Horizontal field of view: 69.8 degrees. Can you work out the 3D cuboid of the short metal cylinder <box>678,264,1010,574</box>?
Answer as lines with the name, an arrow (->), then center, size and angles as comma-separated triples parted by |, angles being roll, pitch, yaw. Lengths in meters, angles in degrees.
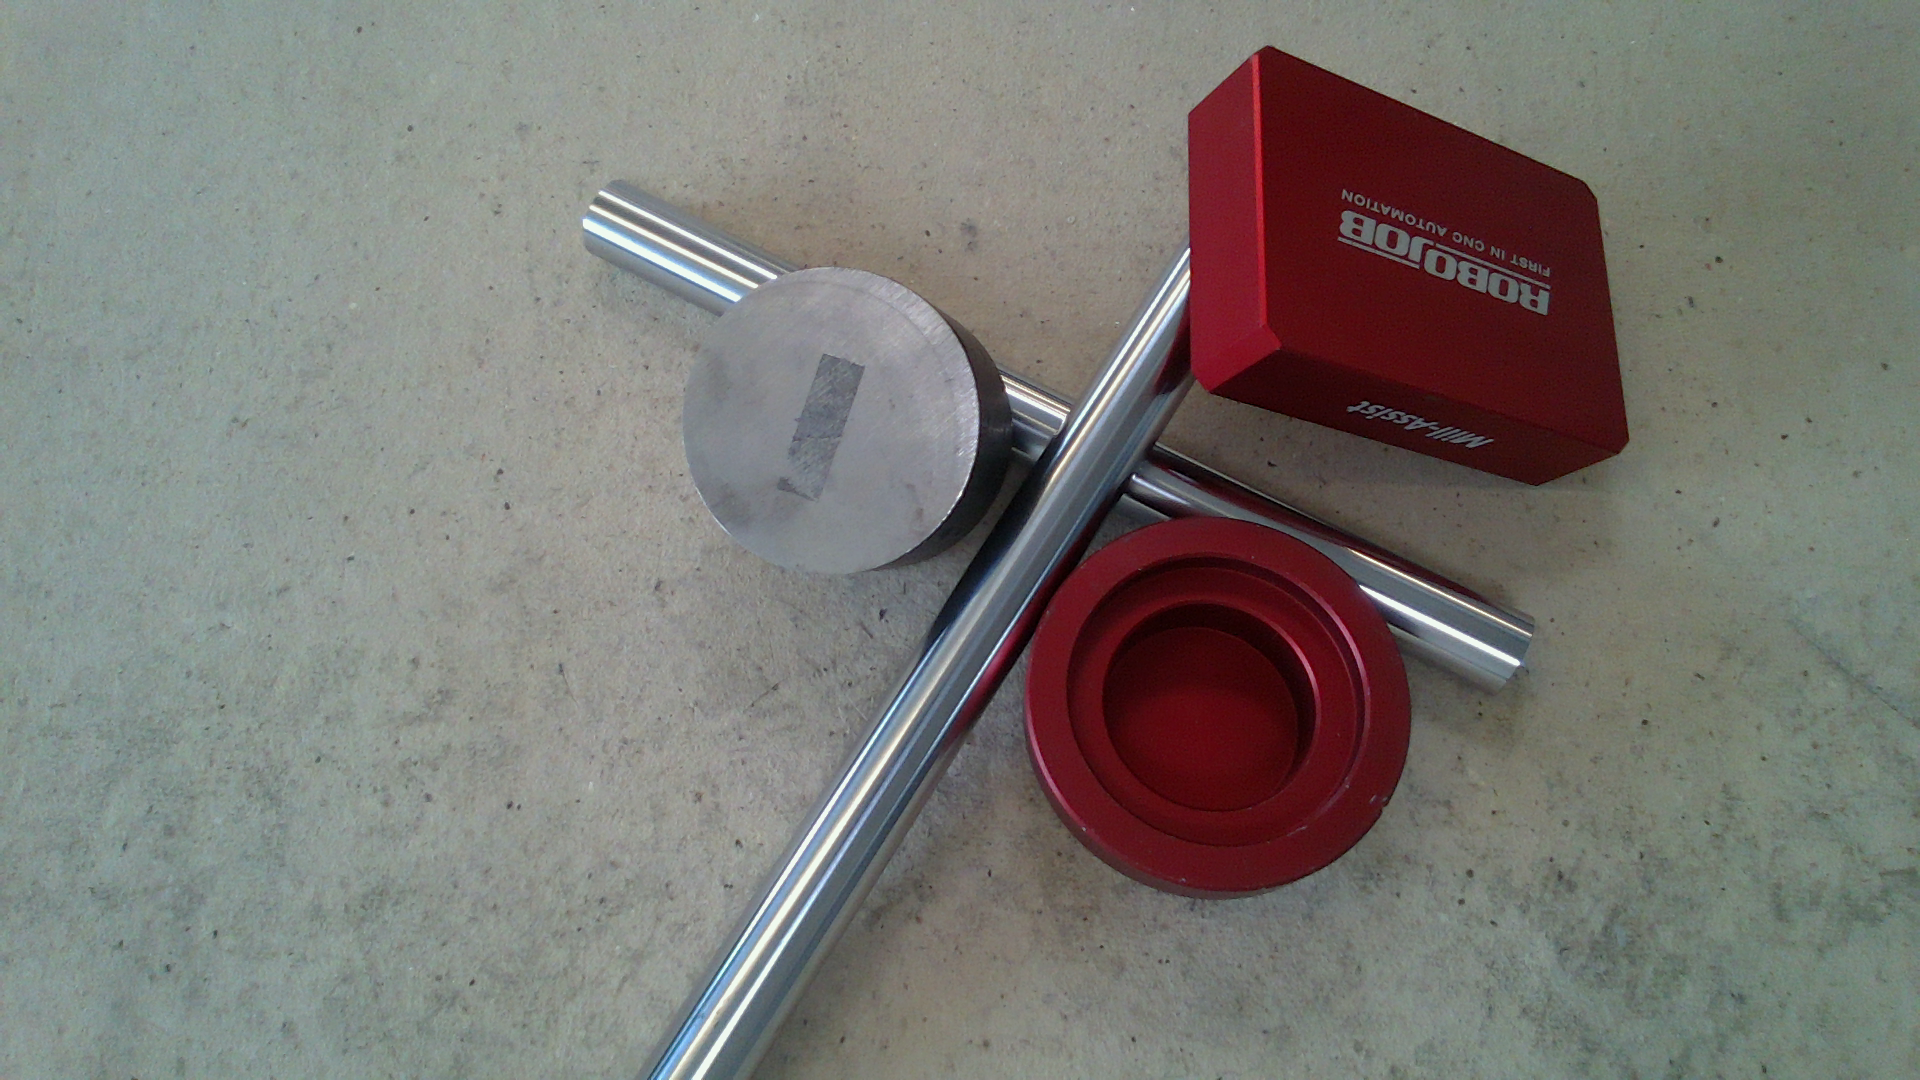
short metal cylinder -> -0.030, -0.031, 0.379 | 0.080, 0.050, 0.080 | 0, 90, 12

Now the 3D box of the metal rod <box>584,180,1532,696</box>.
metal rod -> 0.021, -0.034, 0.408 | 0.300, 0.025, 0.025 | 27, 72, 9

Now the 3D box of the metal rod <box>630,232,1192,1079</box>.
metal rod -> 0.008, 0.020, 0.369 | 0.025, 0.025, 0.300 | 31, 79, 11

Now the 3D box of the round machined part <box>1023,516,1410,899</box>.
round machined part -> 0.066, 0.046, 0.369 | 0.098, 0.042, 0.098 | 0, 70, 0

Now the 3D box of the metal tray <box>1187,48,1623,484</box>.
metal tray -> 0.126, -0.074, 0.389 | 0.130, 0.030, 0.090 | 12, 68, -25
